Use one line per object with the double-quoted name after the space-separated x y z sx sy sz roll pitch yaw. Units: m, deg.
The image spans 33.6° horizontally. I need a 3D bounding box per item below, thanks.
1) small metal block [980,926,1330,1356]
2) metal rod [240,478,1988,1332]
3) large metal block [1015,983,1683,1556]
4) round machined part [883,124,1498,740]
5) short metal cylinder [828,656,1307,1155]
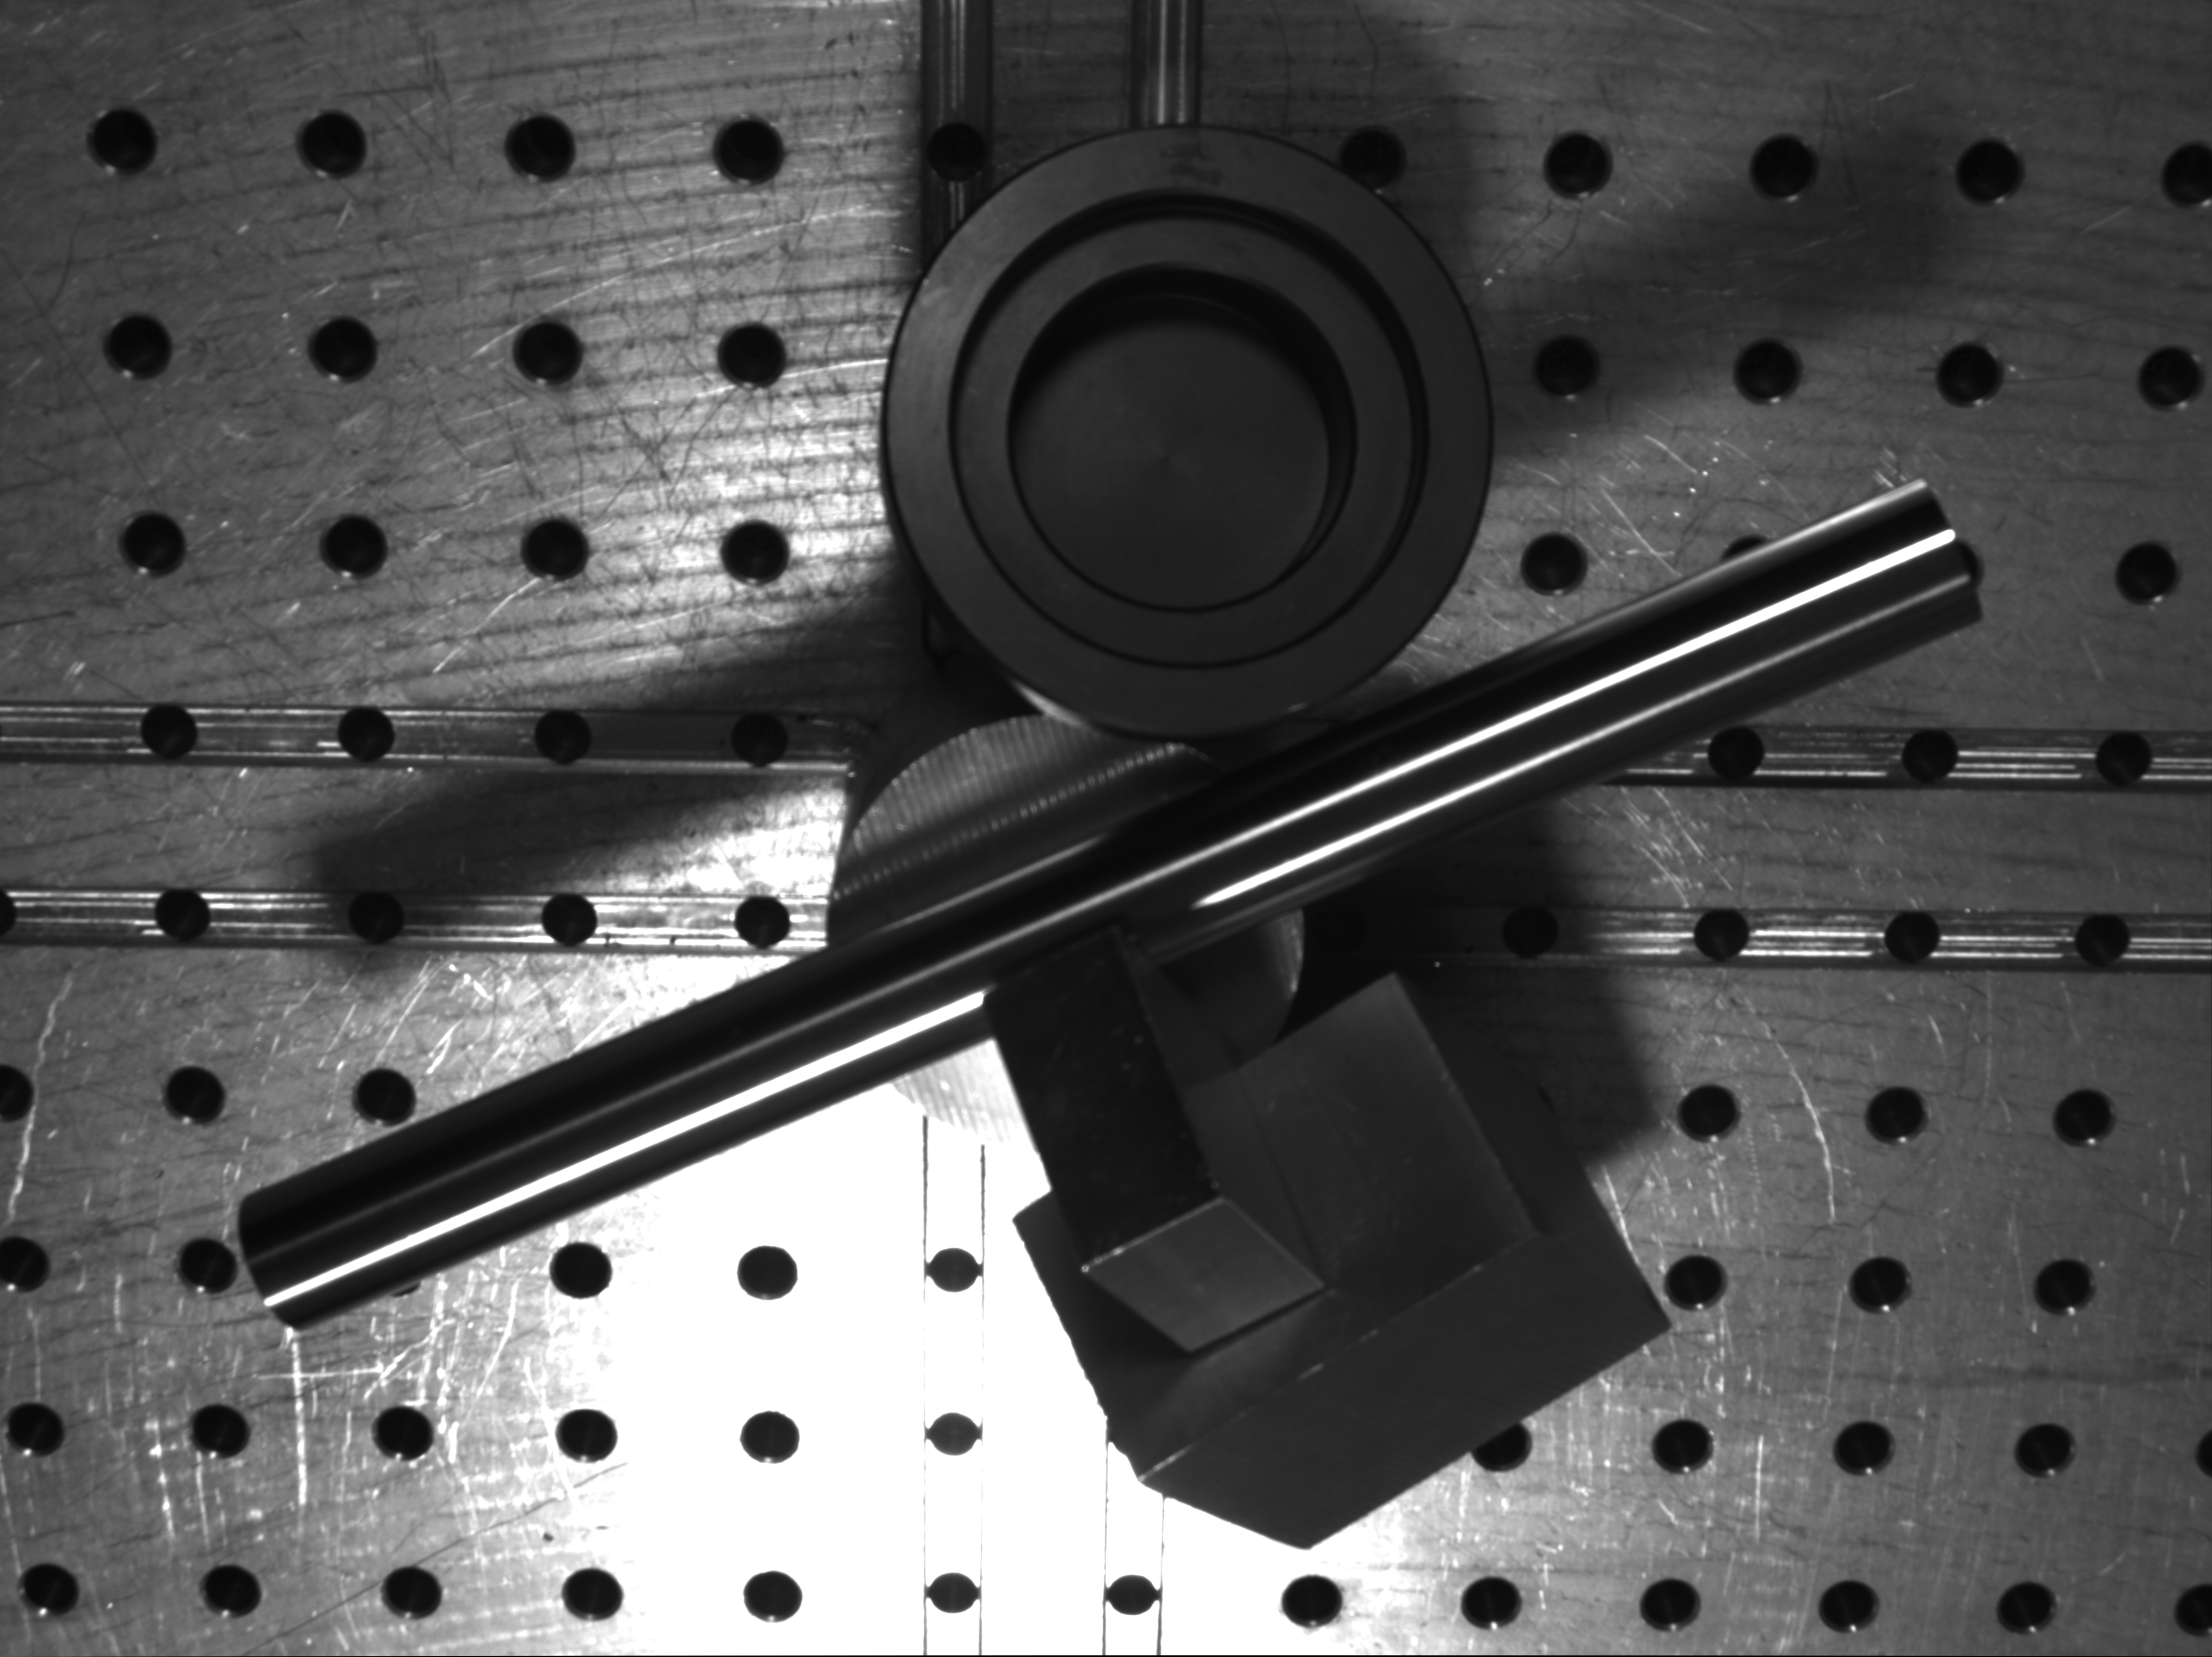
0.008 0.051 0.586 0.025 0.050 0.050 -28 150 9 "small metal block"
-0.003 0.015 0.597 0.300 0.025 0.025 -23 108 7 "metal rod"
0.044 0.079 0.637 0.080 0.050 0.080 -33 151 11 "large metal block"
0.012 -0.063 0.602 0.098 0.042 0.098 0 88 -6 "round machined part"
-0.007 0.010 0.635 0.080 0.050 0.080 0 110 -1 "short metal cylinder"
